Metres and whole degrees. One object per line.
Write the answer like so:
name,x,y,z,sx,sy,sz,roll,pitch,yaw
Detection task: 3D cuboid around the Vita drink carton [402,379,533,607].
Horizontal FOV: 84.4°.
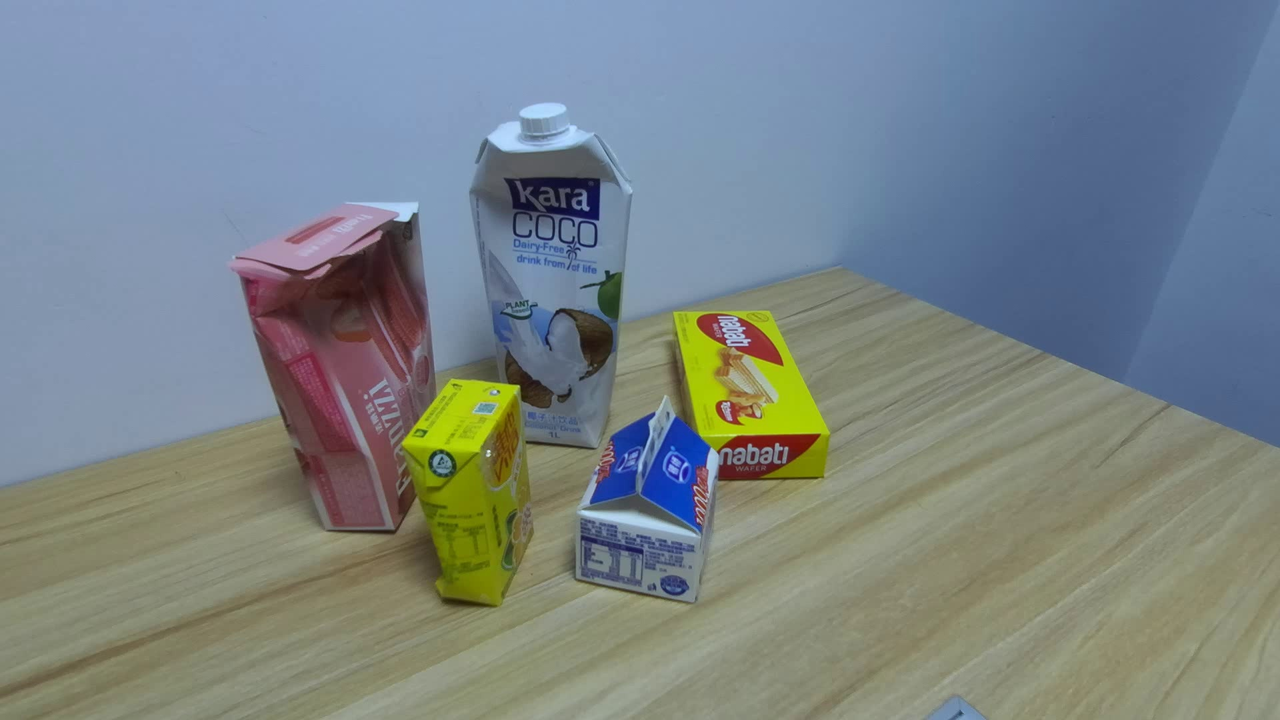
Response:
Vita drink carton,-0.093,0.076,0.392,0.043,0.109,0.076,4,29,8

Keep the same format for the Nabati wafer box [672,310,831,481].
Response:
Nabati wafer box,0.080,0.019,0.568,0.093,0.042,0.202,0,29,-4

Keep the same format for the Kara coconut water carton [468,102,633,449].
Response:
Kara coconut water carton,-0.060,-0.053,0.492,0.115,0.239,0.069,5,30,8

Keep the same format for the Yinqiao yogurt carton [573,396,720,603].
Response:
Yinqiao yogurt carton,0.006,0.076,0.409,0.073,0.092,0.075,8,31,11

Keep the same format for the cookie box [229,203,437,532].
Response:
cookie box,-0.169,0.008,0.431,0.055,0.184,0.118,6,30,8
